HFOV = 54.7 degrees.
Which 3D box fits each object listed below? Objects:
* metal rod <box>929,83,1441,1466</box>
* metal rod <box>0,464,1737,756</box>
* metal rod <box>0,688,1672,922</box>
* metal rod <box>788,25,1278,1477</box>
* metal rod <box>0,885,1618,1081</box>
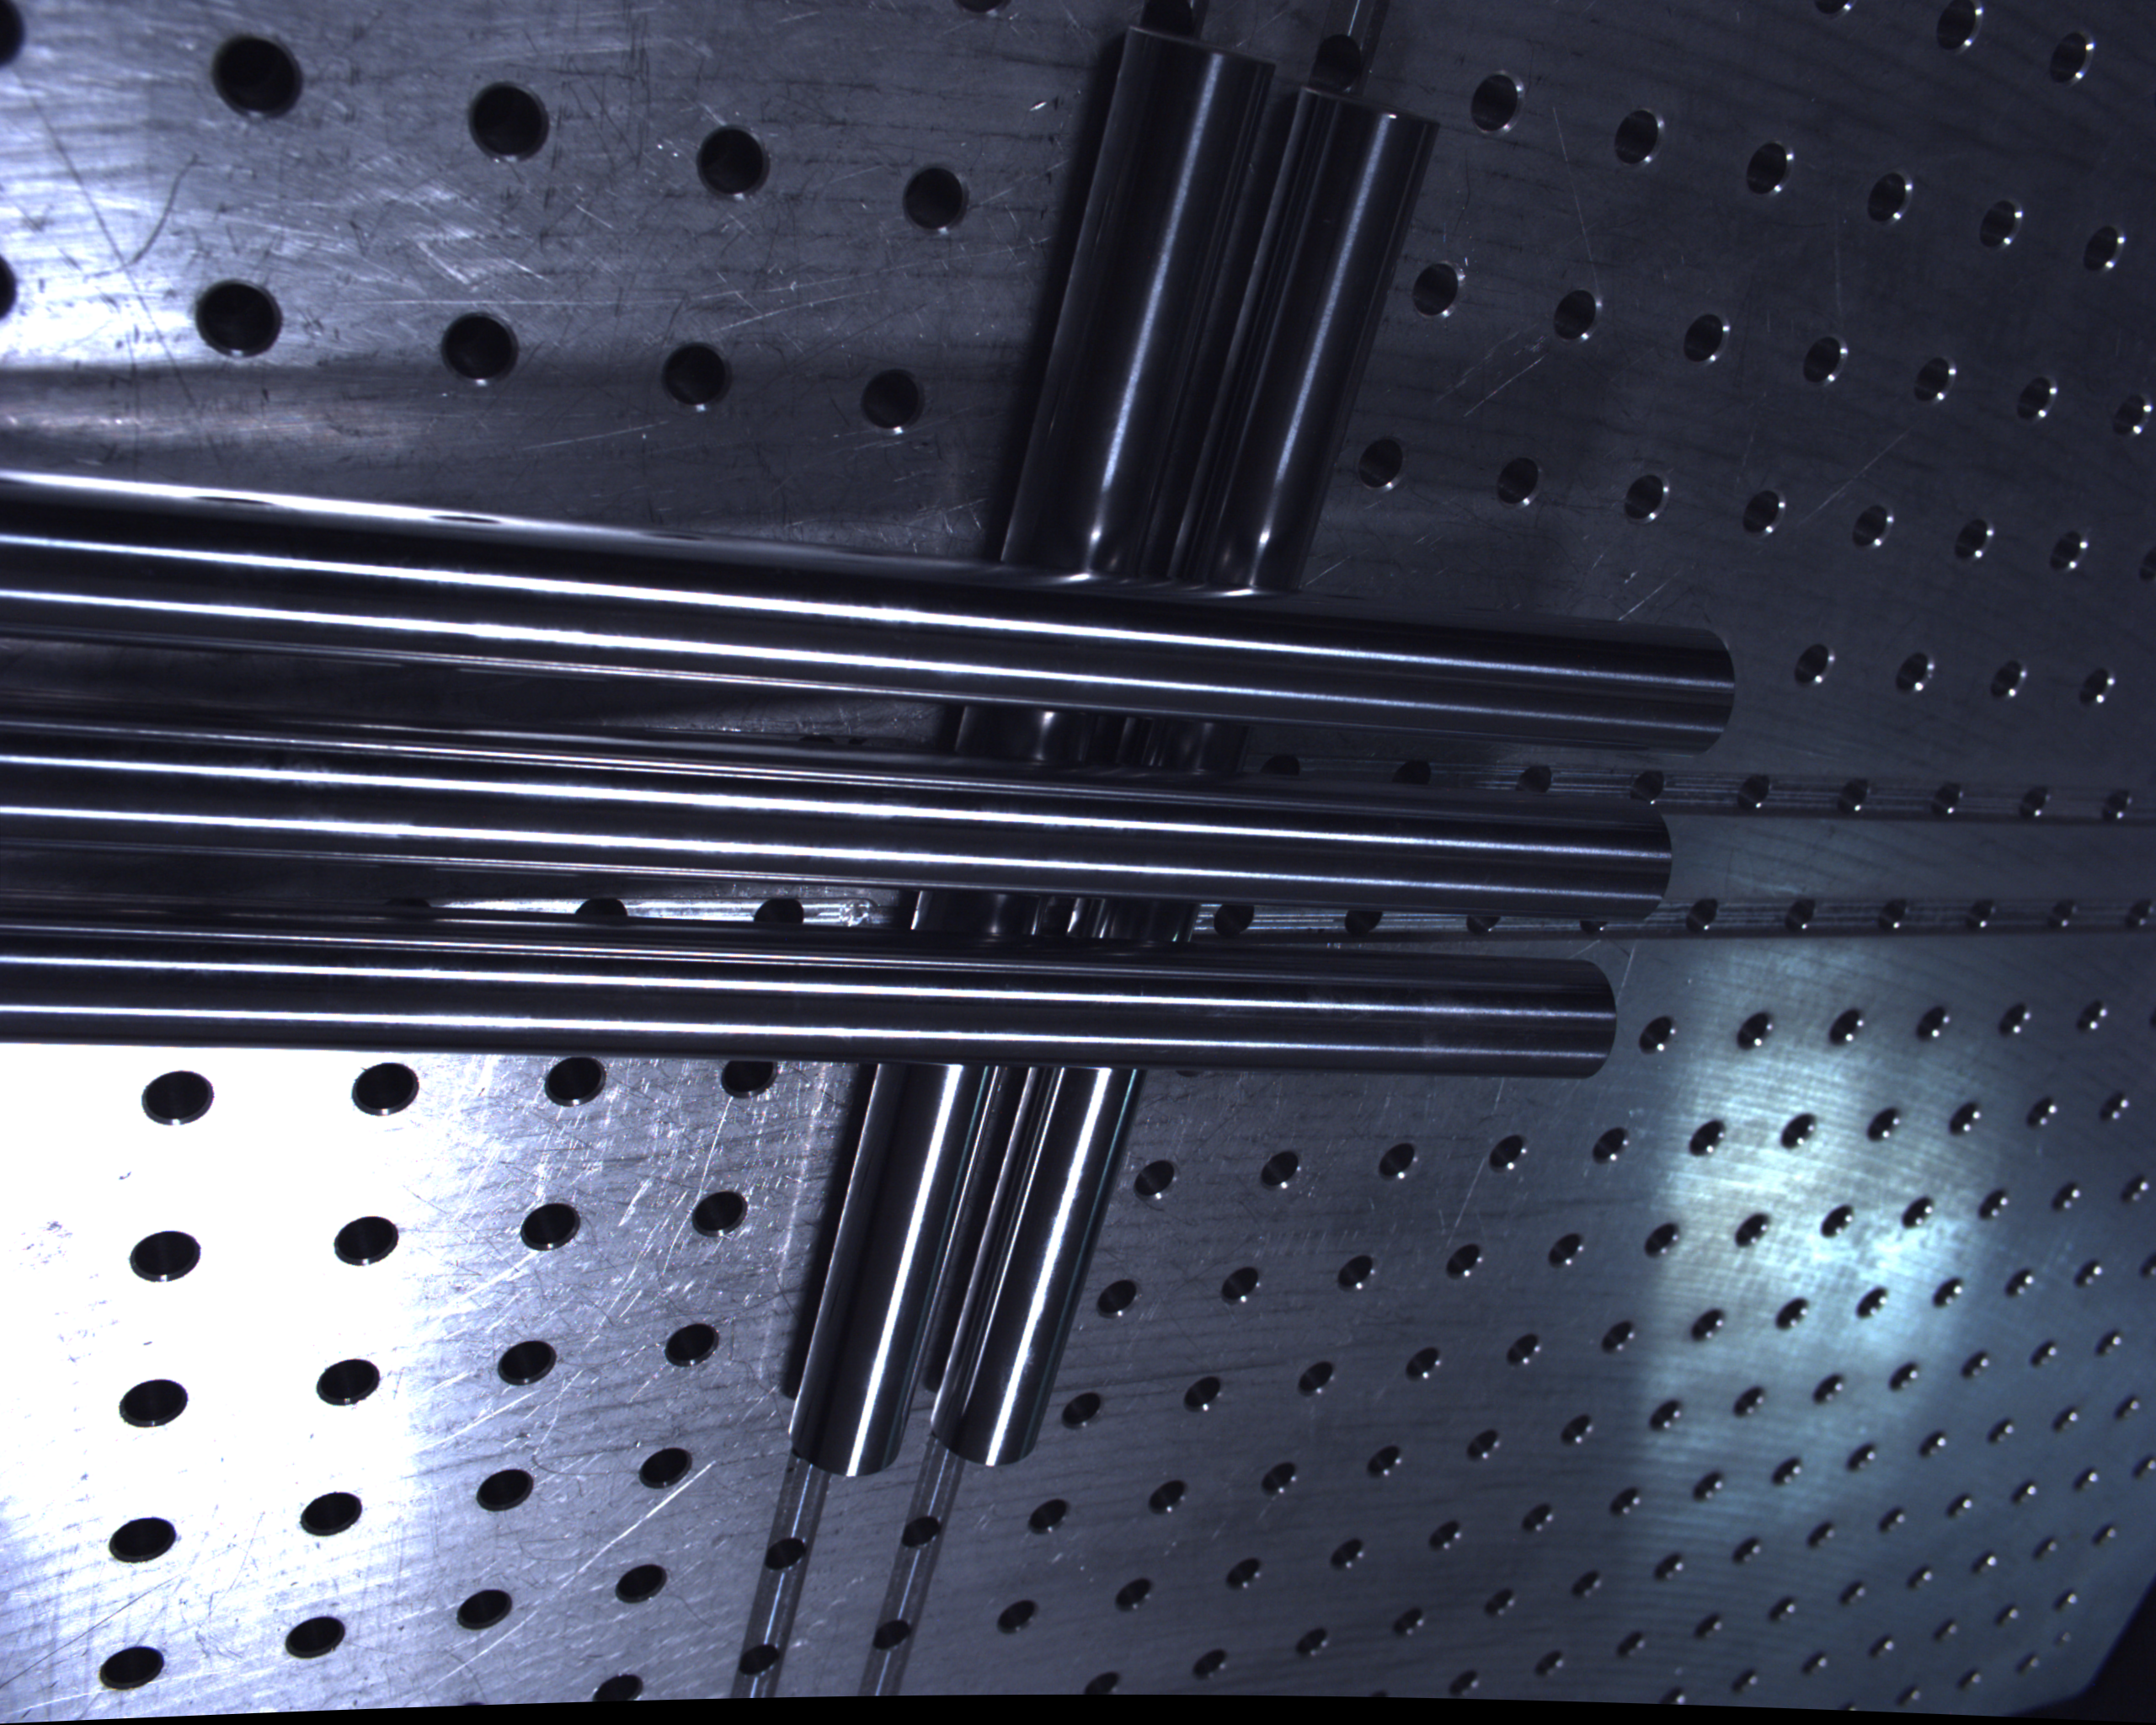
[{"bbox_3d":[0.014,0.000,0.421,0.025,0.025,0.298,1,118,-29],"label":"metal rod"},{"bbox_3d":[-0.022,-0.039,0.350,0.303,0.025,0.025,2,118,-21],"label":"metal rod"},{"bbox_3d":[-0.029,-0.007,0.365,0.303,0.025,0.025,3,117,-21],"label":"metal rod"},{"bbox_3d":[-0.016,-0.003,0.402,0.025,0.025,0.298,1,118,-29],"label":"metal rod"},{"bbox_3d":[-0.036,0.024,0.381,0.303,0.025,0.025,4,117,-21],"label":"metal rod"}]
